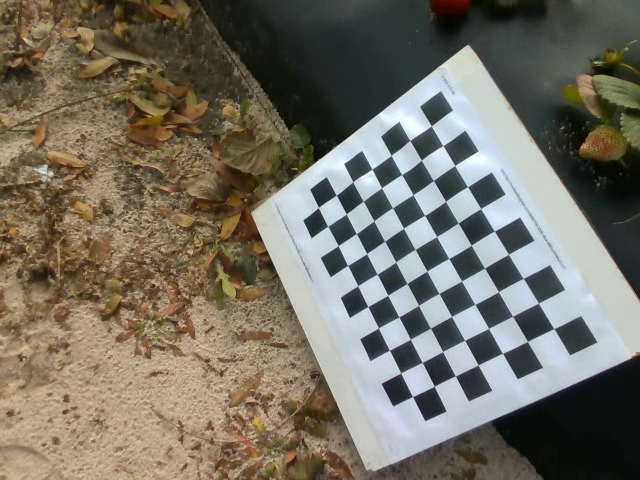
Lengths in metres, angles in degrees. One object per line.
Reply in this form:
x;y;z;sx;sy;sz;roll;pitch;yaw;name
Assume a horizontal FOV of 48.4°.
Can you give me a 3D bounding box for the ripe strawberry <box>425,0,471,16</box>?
0.096;-0.170;0.519;0.037;0.034;0.039;-26;-2;34;ripe strawberry
